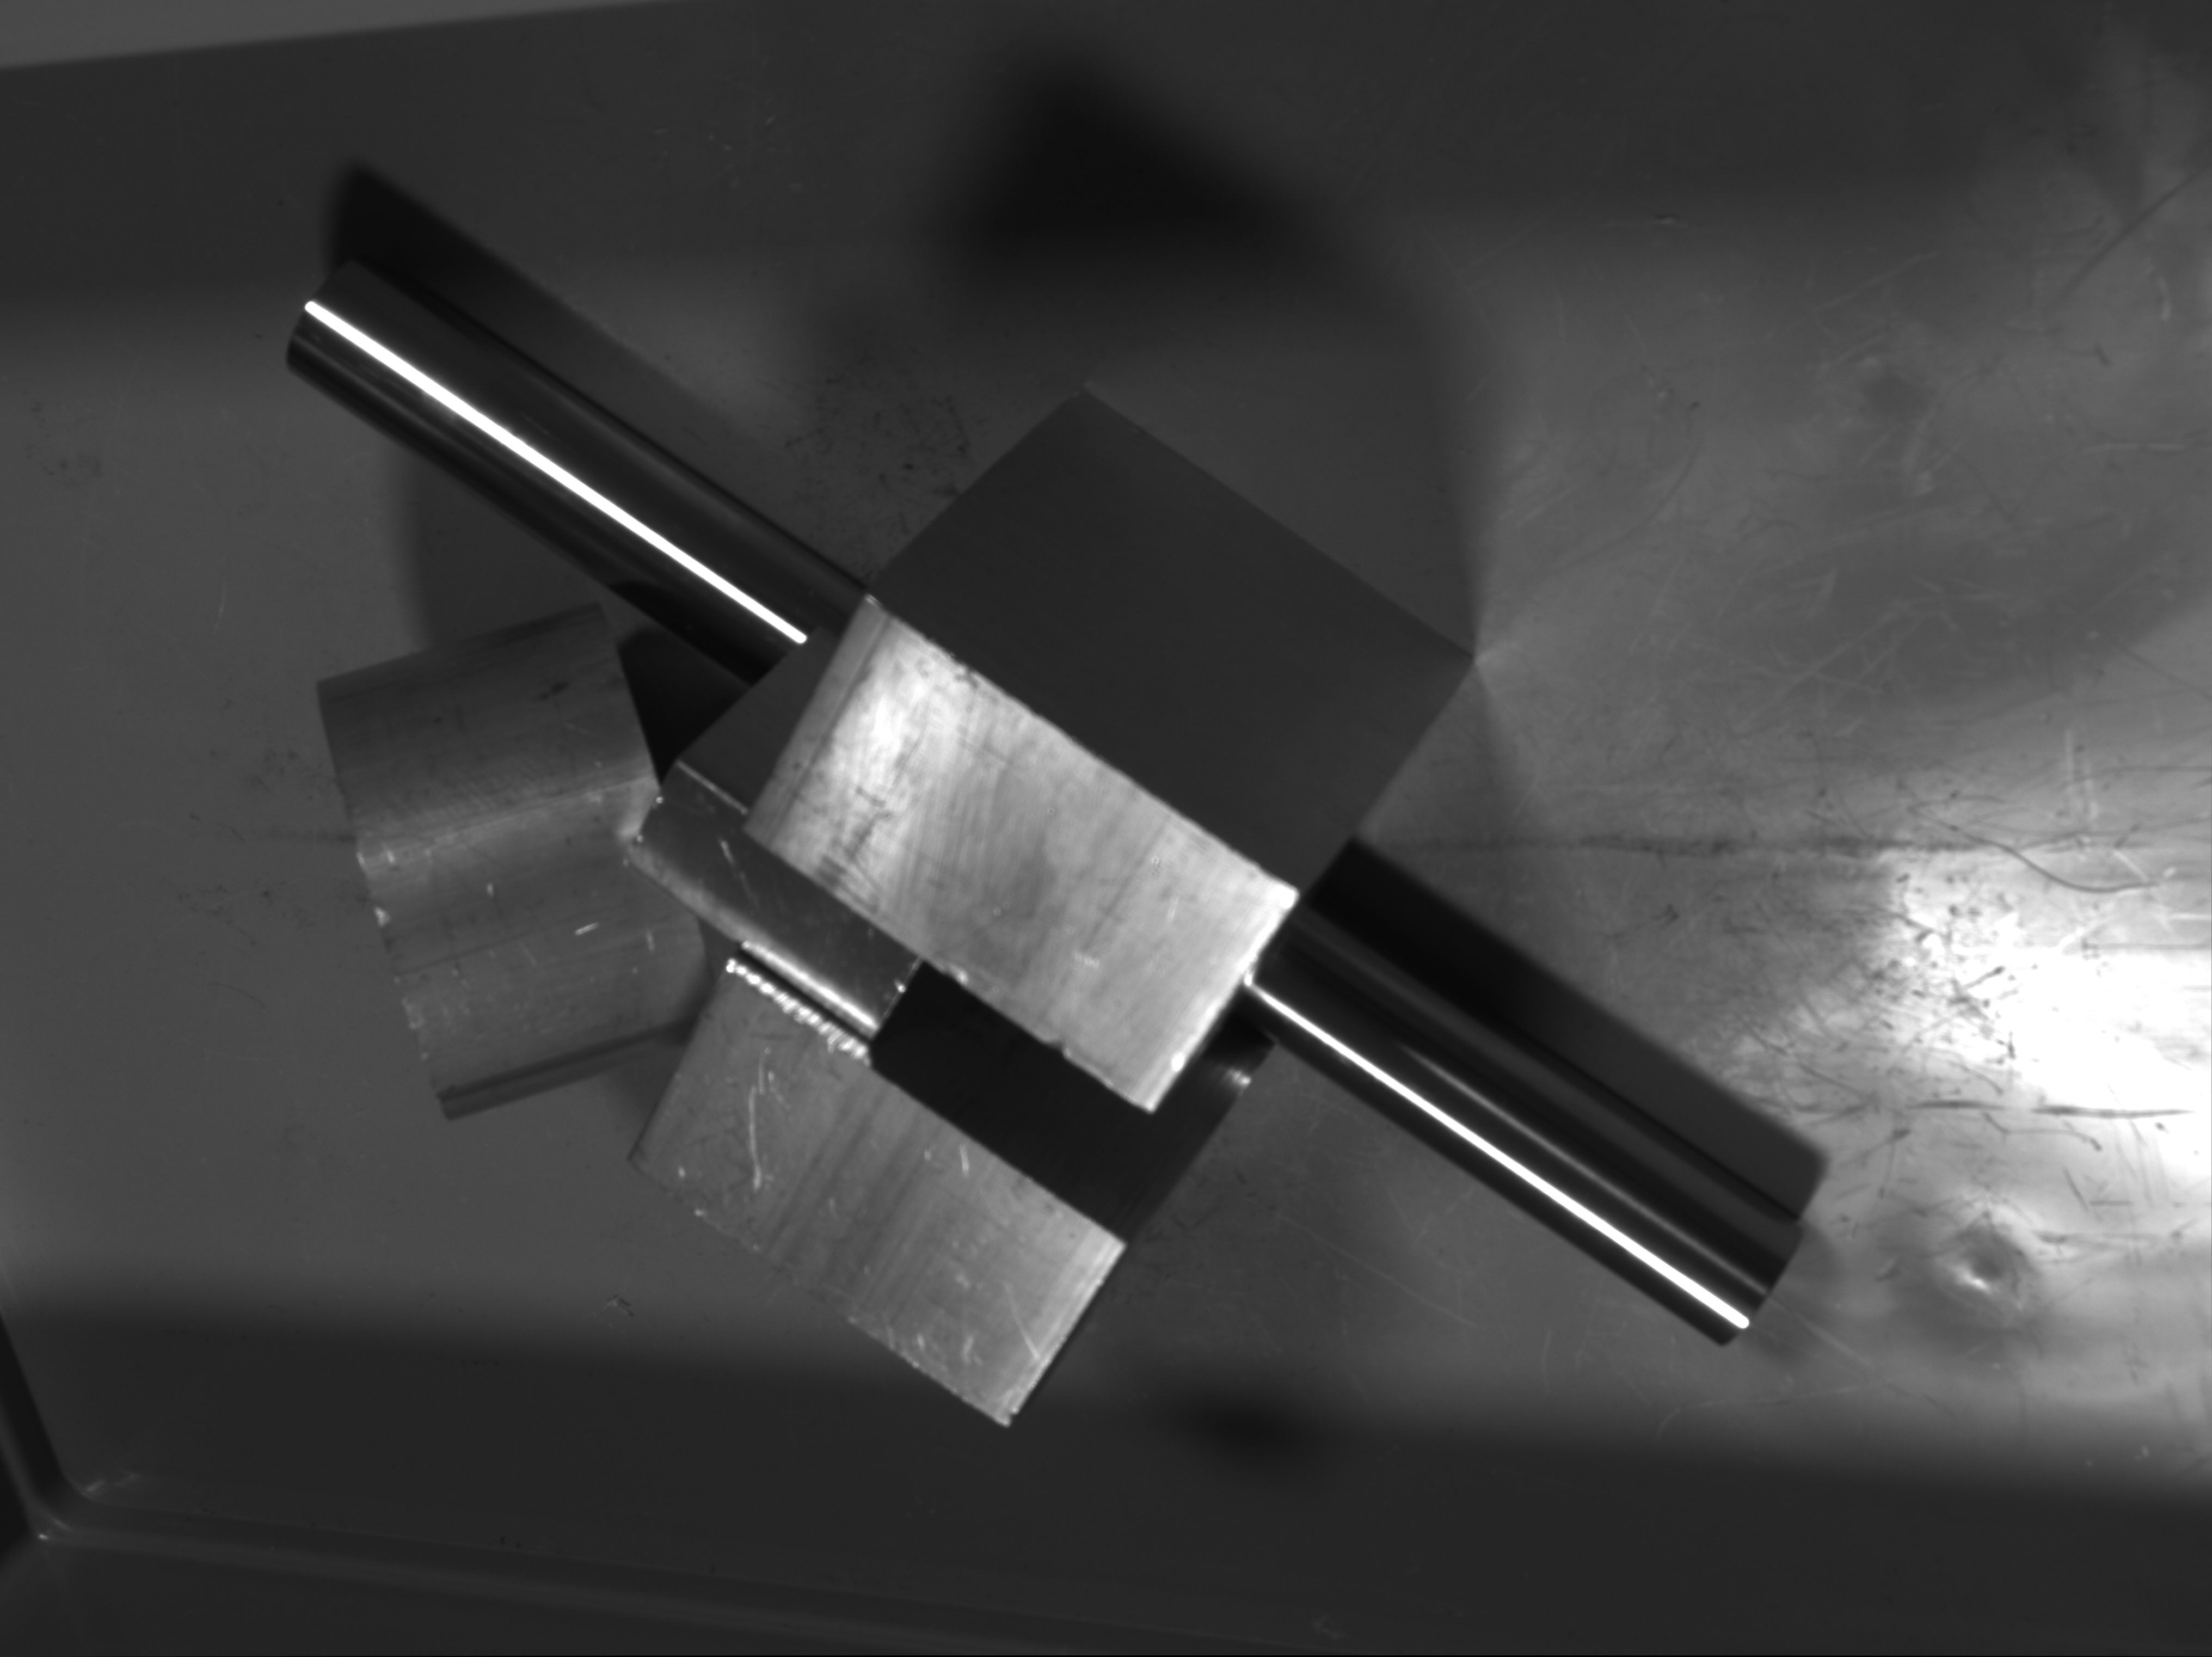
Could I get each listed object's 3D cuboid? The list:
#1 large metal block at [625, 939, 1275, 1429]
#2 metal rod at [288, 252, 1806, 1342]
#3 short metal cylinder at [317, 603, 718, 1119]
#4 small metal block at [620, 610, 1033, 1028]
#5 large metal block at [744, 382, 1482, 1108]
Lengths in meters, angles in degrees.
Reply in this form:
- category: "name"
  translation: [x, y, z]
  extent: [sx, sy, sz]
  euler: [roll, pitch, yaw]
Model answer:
- category: "large metal block"
  translation: [-0.022, 0.042, 0.632]
  extent: [0.080, 0.080, 0.050]
  euler: [34, 128, 5]
- category: "metal rod"
  translation: [-0.012, -0.007, 0.633]
  extent: [0.300, 0.025, 0.025]
  euler: [34, 128, 4]
- category: "short metal cylinder"
  translation: [-0.102, 0.006, 0.642]
  extent: [0.050, 0.080, 0.080]
  euler: [-17, 116, -9]
- category: "small metal block"
  translation: [-0.043, -0.002, 0.605]
  extent: [0.050, 0.050, 0.025]
  euler: [35, 128, 4]
- category: "large metal block"
  translation: [0.003, -0.015, 0.586]
  extent: [0.080, 0.080, 0.050]
  euler: [35, 128, 4]
